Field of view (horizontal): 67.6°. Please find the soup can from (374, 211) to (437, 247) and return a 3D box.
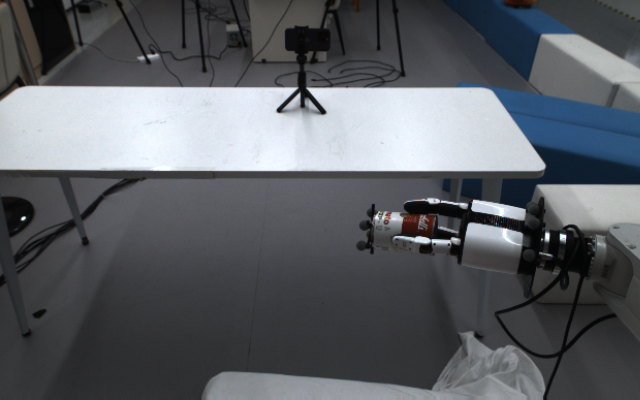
[{"bbox_3d":[0.145,0.054,0.813,0.101,0.067,0.067,4,34,18],"label":"soup can"}]
